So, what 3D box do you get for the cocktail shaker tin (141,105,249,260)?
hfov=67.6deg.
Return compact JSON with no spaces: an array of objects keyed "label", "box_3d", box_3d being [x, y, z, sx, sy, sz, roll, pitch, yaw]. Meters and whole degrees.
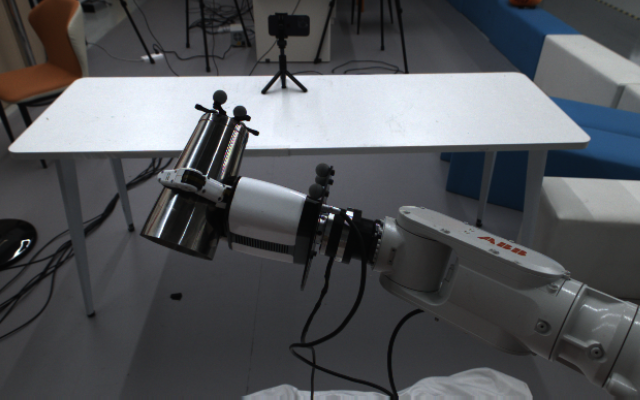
[{"label":"cocktail shaker tin","box_3d":[-0.151,-0.019,0.609,0.093,0.093,0.170,14,74,17]}]
